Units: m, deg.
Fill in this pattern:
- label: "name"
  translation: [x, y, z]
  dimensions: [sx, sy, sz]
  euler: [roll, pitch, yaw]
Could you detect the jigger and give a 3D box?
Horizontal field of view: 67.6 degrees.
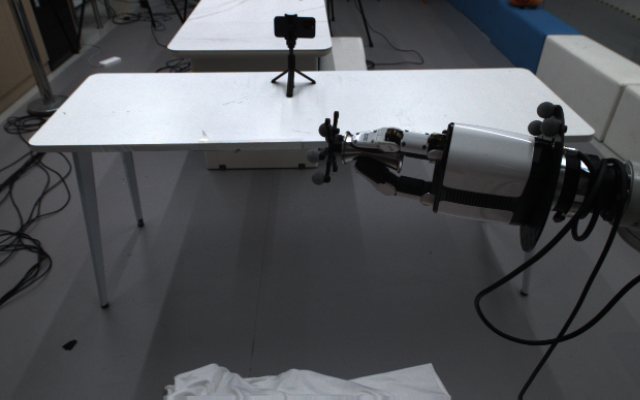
- label: "jigger"
  translation: [0.069, -0.062, 0.568]
  dimensions: [0.071, 0.043, 0.043]
  euler: [8, 35, 16]
